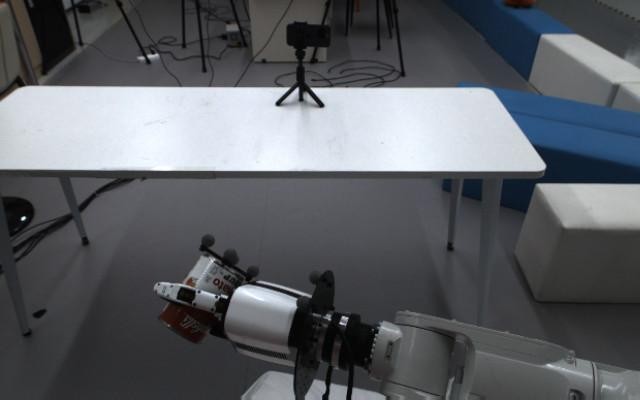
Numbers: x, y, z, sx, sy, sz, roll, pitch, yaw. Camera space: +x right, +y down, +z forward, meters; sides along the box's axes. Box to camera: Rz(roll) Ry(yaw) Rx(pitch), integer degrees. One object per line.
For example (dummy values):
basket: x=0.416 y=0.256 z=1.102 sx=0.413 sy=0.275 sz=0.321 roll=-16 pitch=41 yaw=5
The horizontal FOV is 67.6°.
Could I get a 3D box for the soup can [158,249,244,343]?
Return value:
soup can: x=-0.155 y=0.131 z=0.637 sx=0.067 sy=0.067 sz=0.101 roll=25 pitch=72 yaw=29
